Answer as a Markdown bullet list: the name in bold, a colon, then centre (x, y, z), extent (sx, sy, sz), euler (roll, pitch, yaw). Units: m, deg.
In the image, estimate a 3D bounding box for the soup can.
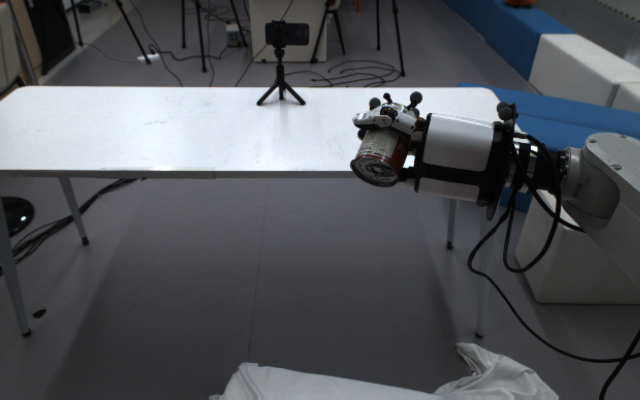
- **soup can**: centre (0.092, -0.081, 0.685), extent (0.067, 0.067, 0.101), euler (15, 63, 18)
